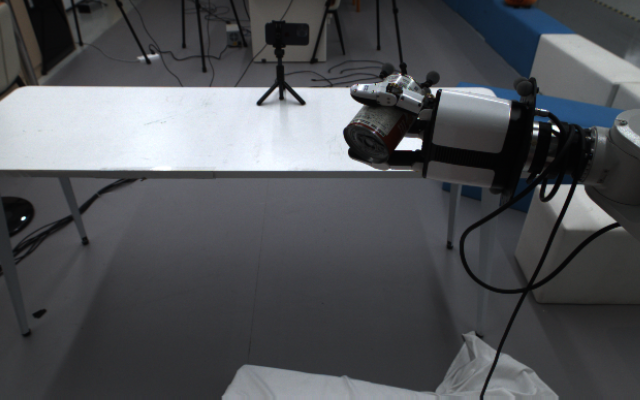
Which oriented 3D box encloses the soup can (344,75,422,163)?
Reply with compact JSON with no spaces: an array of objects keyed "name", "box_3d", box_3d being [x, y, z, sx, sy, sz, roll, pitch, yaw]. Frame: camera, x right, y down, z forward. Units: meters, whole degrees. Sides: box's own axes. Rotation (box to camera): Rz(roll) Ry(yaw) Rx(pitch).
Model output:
[{"name":"soup can","box_3d":[0.085,-0.109,0.629,0.067,0.067,0.101,25,66,30]}]
